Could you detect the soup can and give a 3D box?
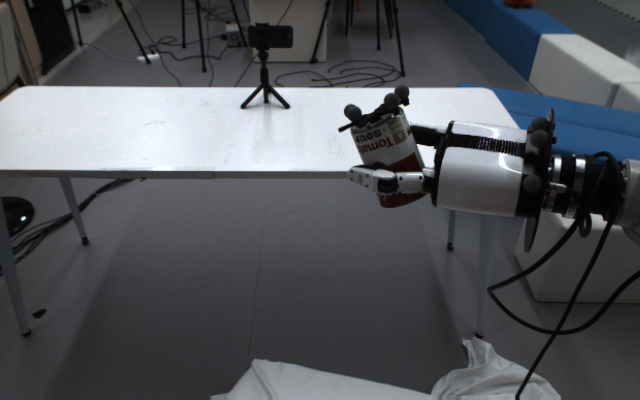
[{"bbox_3d":[0.087,-0.052,0.579,0.067,0.101,0.067,-23,16,7],"label":"soup can"}]
